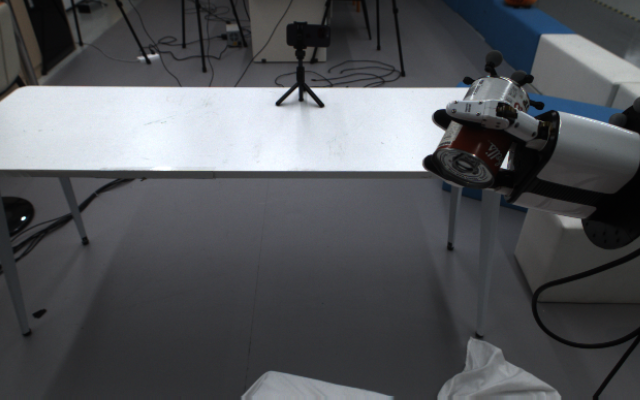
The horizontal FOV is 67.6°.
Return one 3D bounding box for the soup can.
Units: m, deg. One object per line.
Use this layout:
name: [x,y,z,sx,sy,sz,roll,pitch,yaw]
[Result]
soup can: [0.173,-0.072,0.510,0.067,0.067,0.101,22,71,27]
